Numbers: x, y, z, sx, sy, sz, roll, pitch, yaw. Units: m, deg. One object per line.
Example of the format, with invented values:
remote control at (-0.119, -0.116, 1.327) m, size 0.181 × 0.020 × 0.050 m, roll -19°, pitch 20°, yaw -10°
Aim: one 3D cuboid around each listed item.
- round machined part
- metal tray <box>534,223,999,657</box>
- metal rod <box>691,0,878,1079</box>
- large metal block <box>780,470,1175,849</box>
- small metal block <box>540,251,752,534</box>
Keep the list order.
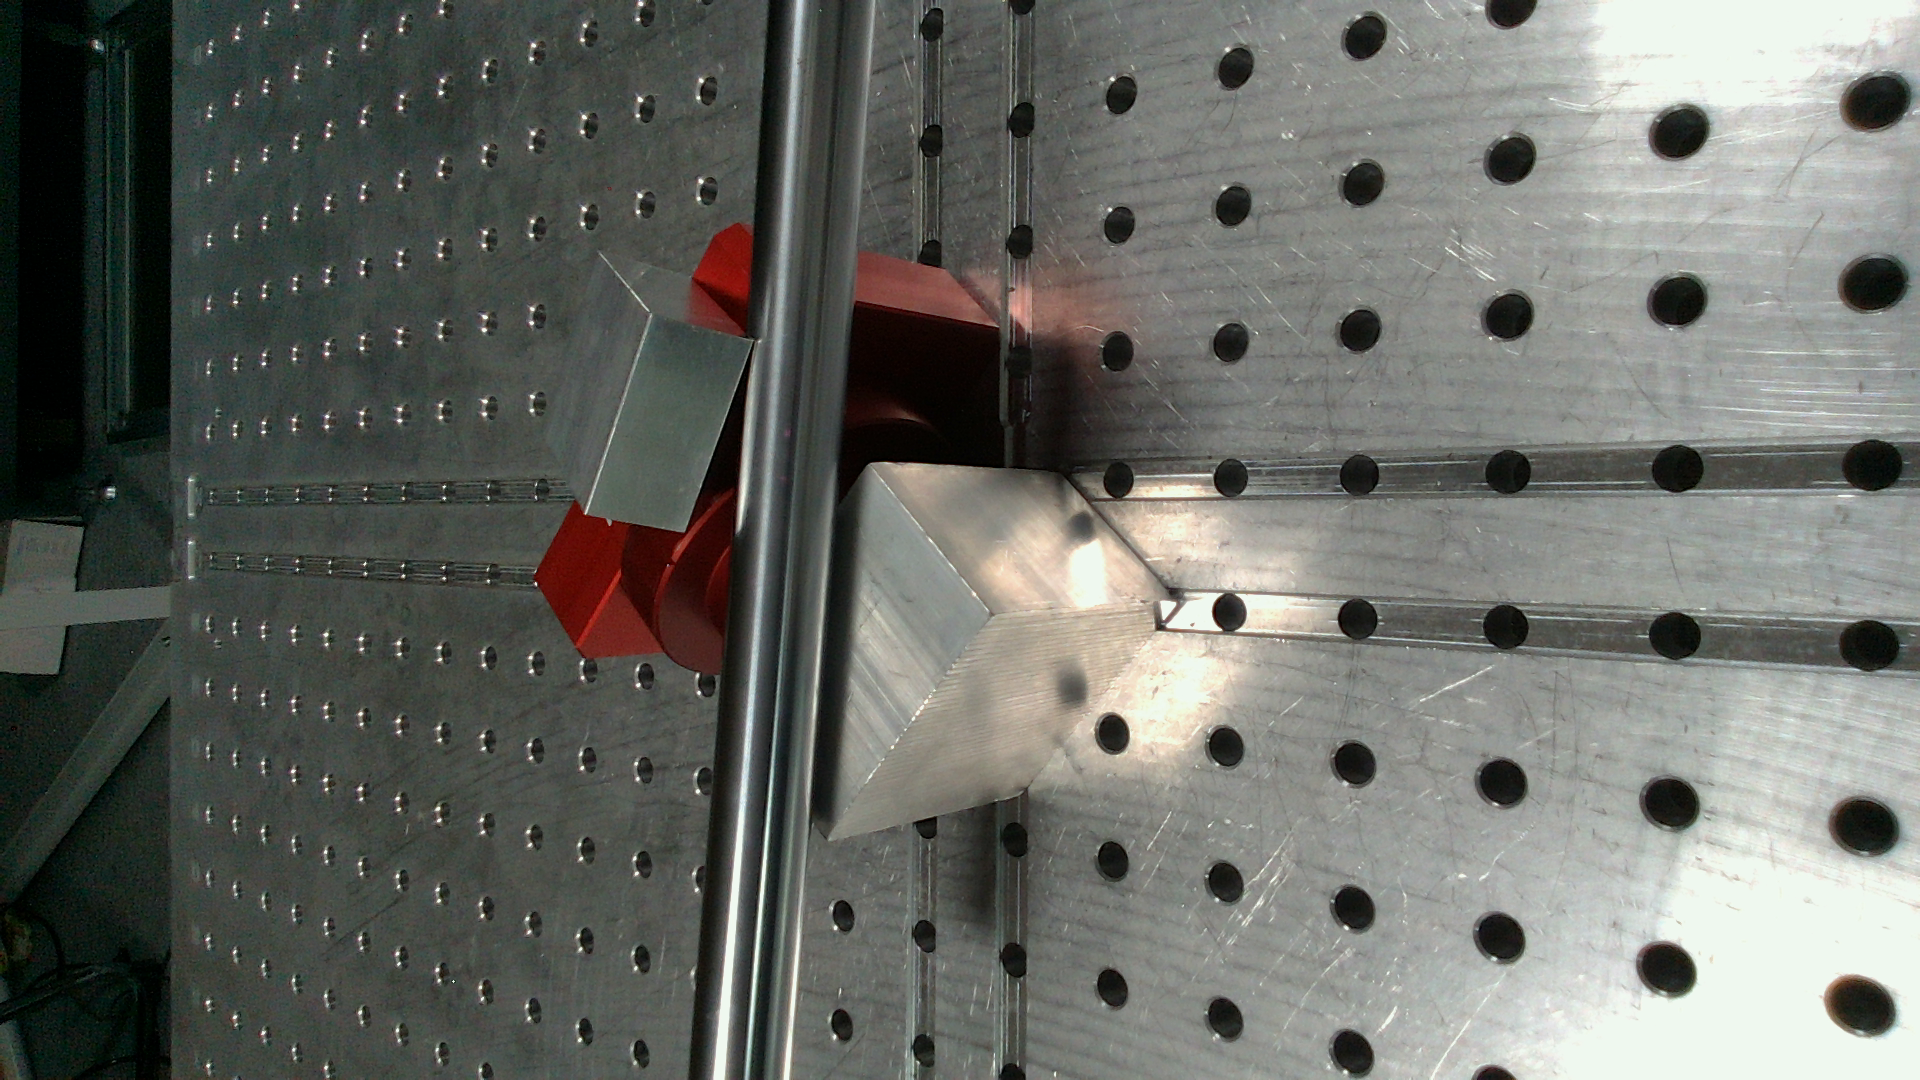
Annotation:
round machined part at (-0.039, 0.002, 0.388) m, size 0.042 × 0.098 × 0.098 m, roll 50°, pitch 119°, yaw 29°
metal tray at (-0.056, -0.024, 0.403) m, size 0.030 × 0.090 × 0.130 m, roll 50°, pitch 120°, yaw 28°
metal rod at (-0.043, 0.014, 0.329) m, size 0.025 × 0.025 × 0.300 m, roll 9°, pitch 96°, yaw 40°
large metal block at (-0.004, 0.030, 0.361) m, size 0.050 × 0.080 × 0.080 m, roll 50°, pitch 120°, yaw 28°
small metal block at (-0.078, -0.037, 0.335) m, size 0.050 × 0.025 × 0.050 m, roll 45°, pitch 117°, yaw 52°
